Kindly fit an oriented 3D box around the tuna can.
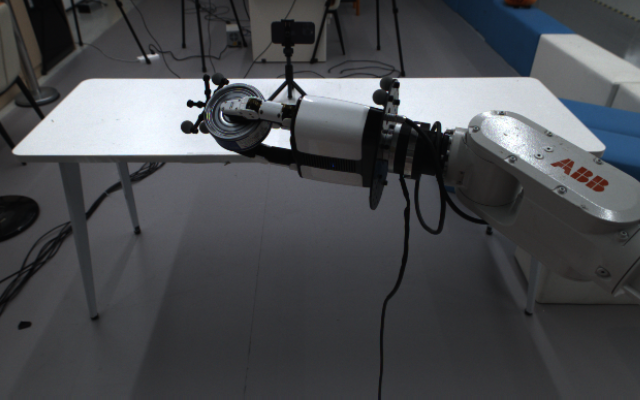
[{"bbox_3d":[-0.106,-0.110,0.635,0.085,0.034,0.085,-3,70,9],"label":"tuna can"}]
